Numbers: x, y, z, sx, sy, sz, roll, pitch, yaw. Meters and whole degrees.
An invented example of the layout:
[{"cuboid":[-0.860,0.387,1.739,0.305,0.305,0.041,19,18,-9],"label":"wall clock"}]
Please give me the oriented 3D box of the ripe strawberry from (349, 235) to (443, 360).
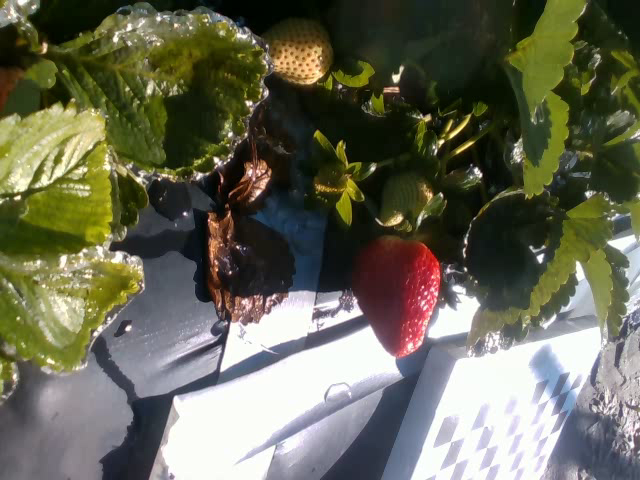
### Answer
[{"cuboid":[0.046,0.037,0.333,0.058,0.065,0.062,-15,-36,17],"label":"ripe strawberry"}]
